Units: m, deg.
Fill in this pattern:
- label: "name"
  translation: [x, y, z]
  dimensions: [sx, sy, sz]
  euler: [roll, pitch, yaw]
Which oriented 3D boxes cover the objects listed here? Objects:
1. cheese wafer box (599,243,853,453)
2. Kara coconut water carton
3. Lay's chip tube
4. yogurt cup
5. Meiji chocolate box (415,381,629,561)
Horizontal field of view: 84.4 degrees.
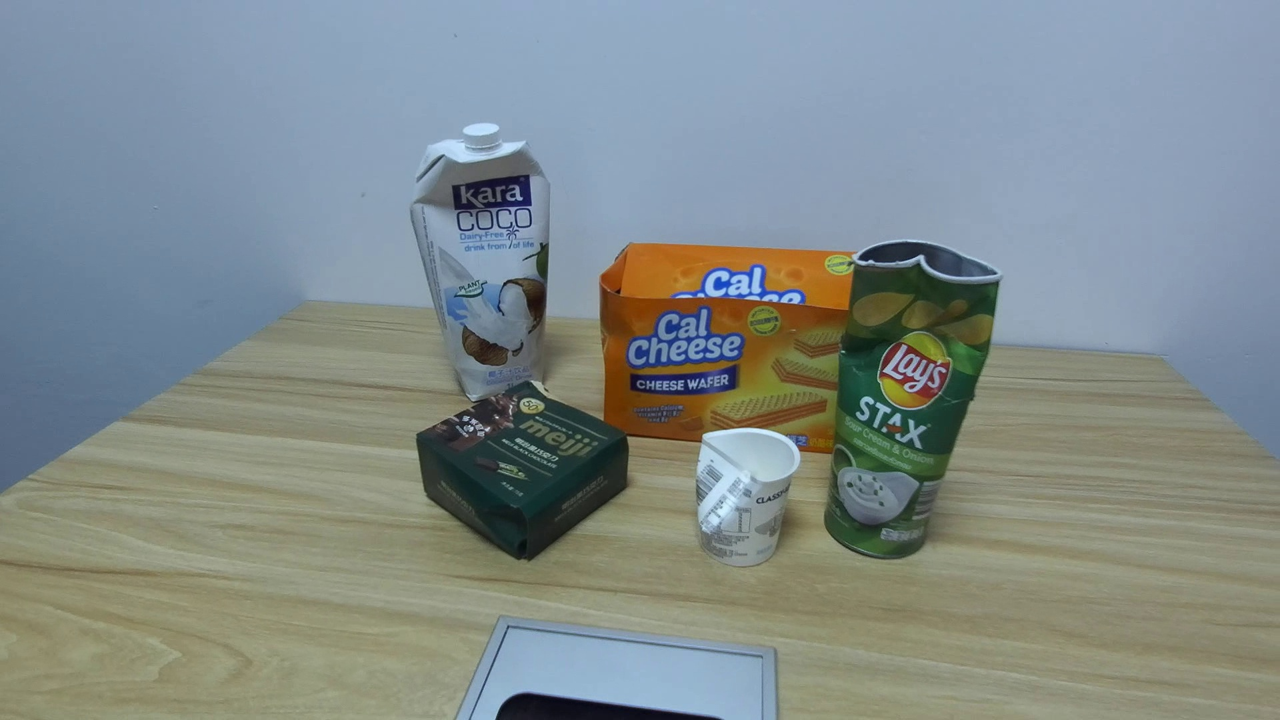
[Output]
- label: "cheese wafer box"
  translation: [0.083, -0.014, 0.610]
  dimensions: [0.230, 0.132, 0.152]
  euler: [5, 28, 7]
- label: "Kara coconut water carton"
  translation: [-0.135, -0.083, 0.622]
  dimensions: [0.115, 0.238, 0.069]
  euler: [-12, 30, -21]
- label: "Lay's chip tube"
  translation: [0.163, 0.028, 0.444]
  dimensions: [0.077, 0.201, 0.069]
  euler: [3, 27, 11]
- label: "yogurt cup"
  translation: [0.069, 0.089, 0.461]
  dimensions: [0.067, 0.070, 0.067]
  euler: [0, 25, 0]
- label: "Meiji chocolate box"
  translation: [-0.082, 0.076, 0.511]
  dimensions: [0.115, 0.058, 0.123]
  euler: [24, 36, 33]
